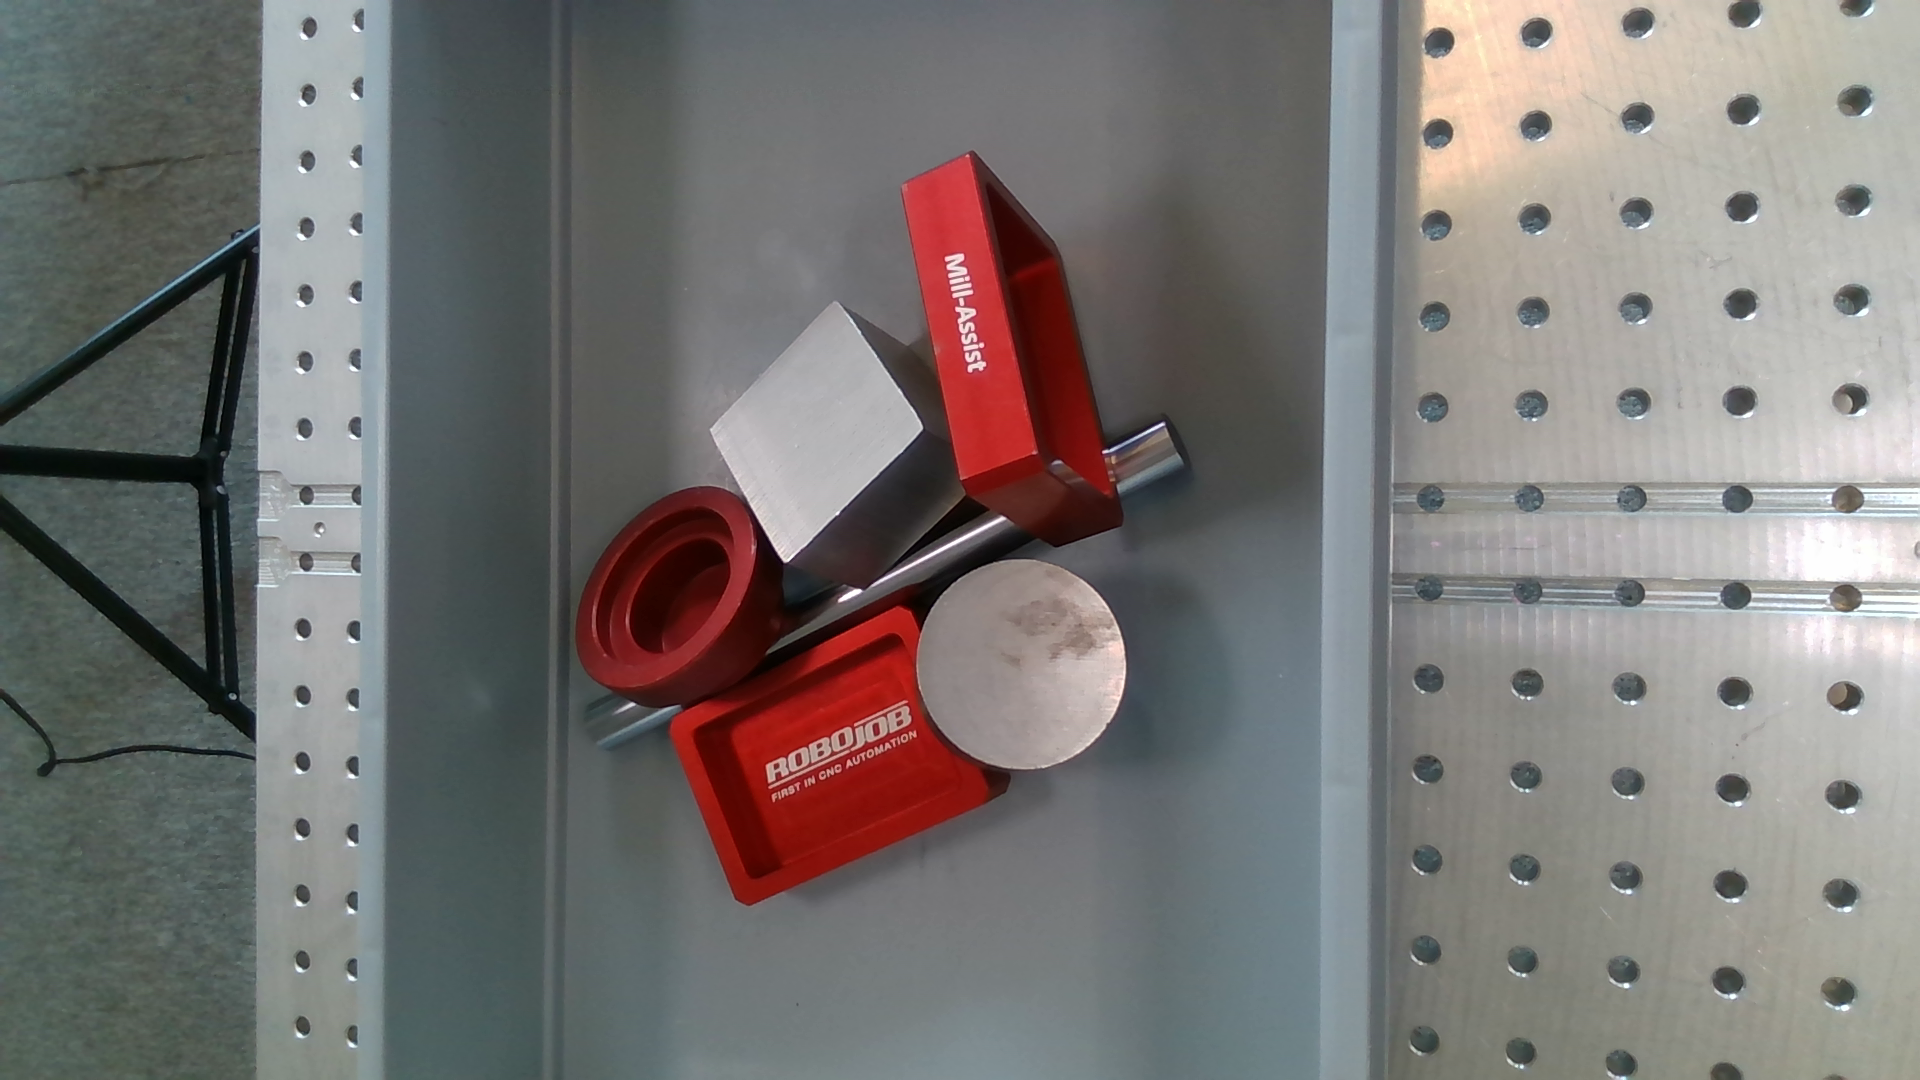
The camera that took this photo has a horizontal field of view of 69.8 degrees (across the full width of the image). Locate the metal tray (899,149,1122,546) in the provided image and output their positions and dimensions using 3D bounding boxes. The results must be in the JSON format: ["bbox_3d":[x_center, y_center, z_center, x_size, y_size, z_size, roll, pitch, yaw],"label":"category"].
[{"bbox_3d":[0.021,-0.071,0.526,0.030,0.090,0.130,-19,69,21],"label":"metal tray"}]

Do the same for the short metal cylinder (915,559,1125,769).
[{"bbox_3d":[0.022,0.051,0.548,0.080,0.050,0.080,1,79,-4],"label":"short metal cylinder"}]

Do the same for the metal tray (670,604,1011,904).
[{"bbox_3d":[-0.054,0.093,0.603,0.130,0.030,0.090,-27,82,19],"label":"metal tray"}]

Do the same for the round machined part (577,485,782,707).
[{"bbox_3d":[-0.117,0.028,0.604,0.098,0.042,0.098,-18,53,25],"label":"round machined part"}]

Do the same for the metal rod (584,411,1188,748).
[{"bbox_3d":[-0.041,0.023,0.599,0.300,0.025,0.025,-27,81,19],"label":"metal rod"}]

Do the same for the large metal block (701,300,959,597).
[{"bbox_3d":[-0.048,-0.037,0.569,0.080,0.050,0.080,-44,58,16],"label":"large metal block"}]
